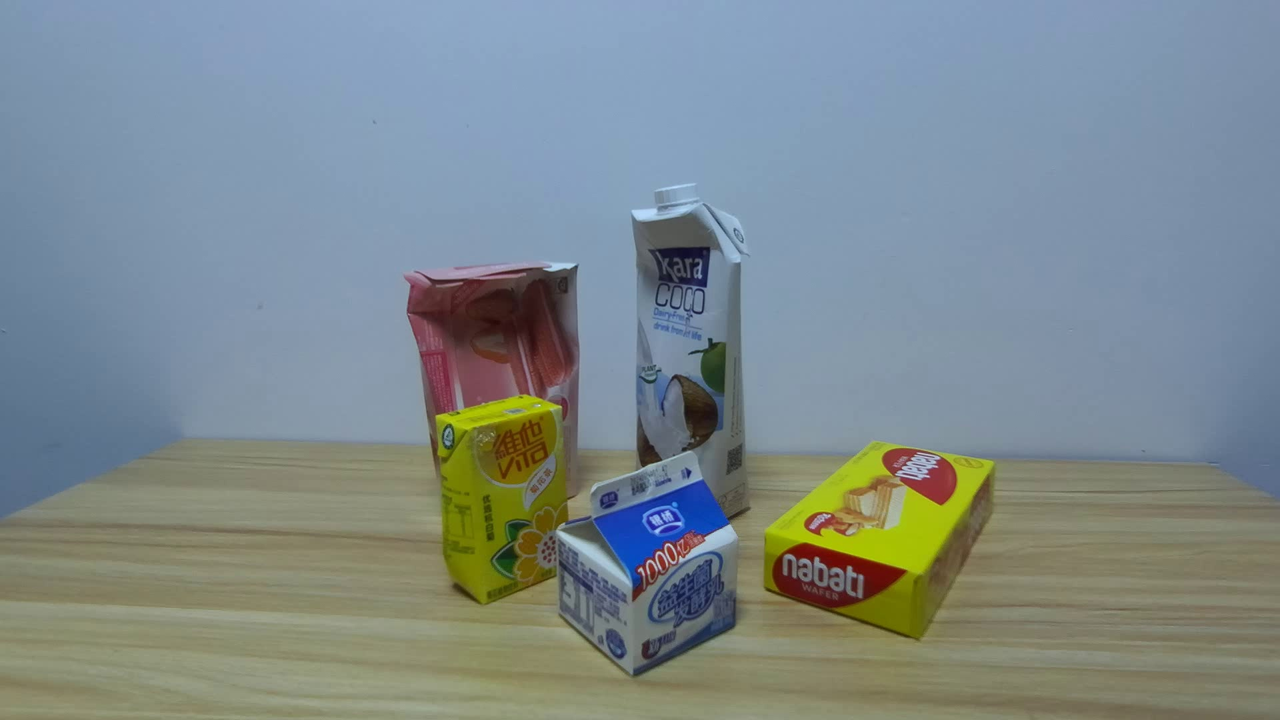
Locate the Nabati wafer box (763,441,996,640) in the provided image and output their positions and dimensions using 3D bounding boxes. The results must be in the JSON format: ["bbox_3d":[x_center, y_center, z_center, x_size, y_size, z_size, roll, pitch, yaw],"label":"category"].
[{"bbox_3d":[0.167,0.106,0.470,0.092,0.042,0.204,8,15,35],"label":"Nabati wafer box"}]

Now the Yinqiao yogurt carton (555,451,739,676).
[{"bbox_3d":[0.003,0.100,0.379,0.076,0.092,0.073,-12,17,-36],"label":"Yinqiao yogurt carton"}]

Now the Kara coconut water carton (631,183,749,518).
[{"bbox_3d":[0.034,-0.003,0.504,0.070,0.238,0.114,-13,18,-41],"label":"Kara coconut water carton"}]

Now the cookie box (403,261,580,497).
[{"bbox_3d":[-0.101,0.024,0.517,0.119,0.184,0.055,-12,16,-39],"label":"cookie box"}]

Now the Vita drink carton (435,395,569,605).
[{"bbox_3d":[-0.084,0.082,0.426,0.077,0.109,0.043,-12,16,-39],"label":"Vita drink carton"}]
